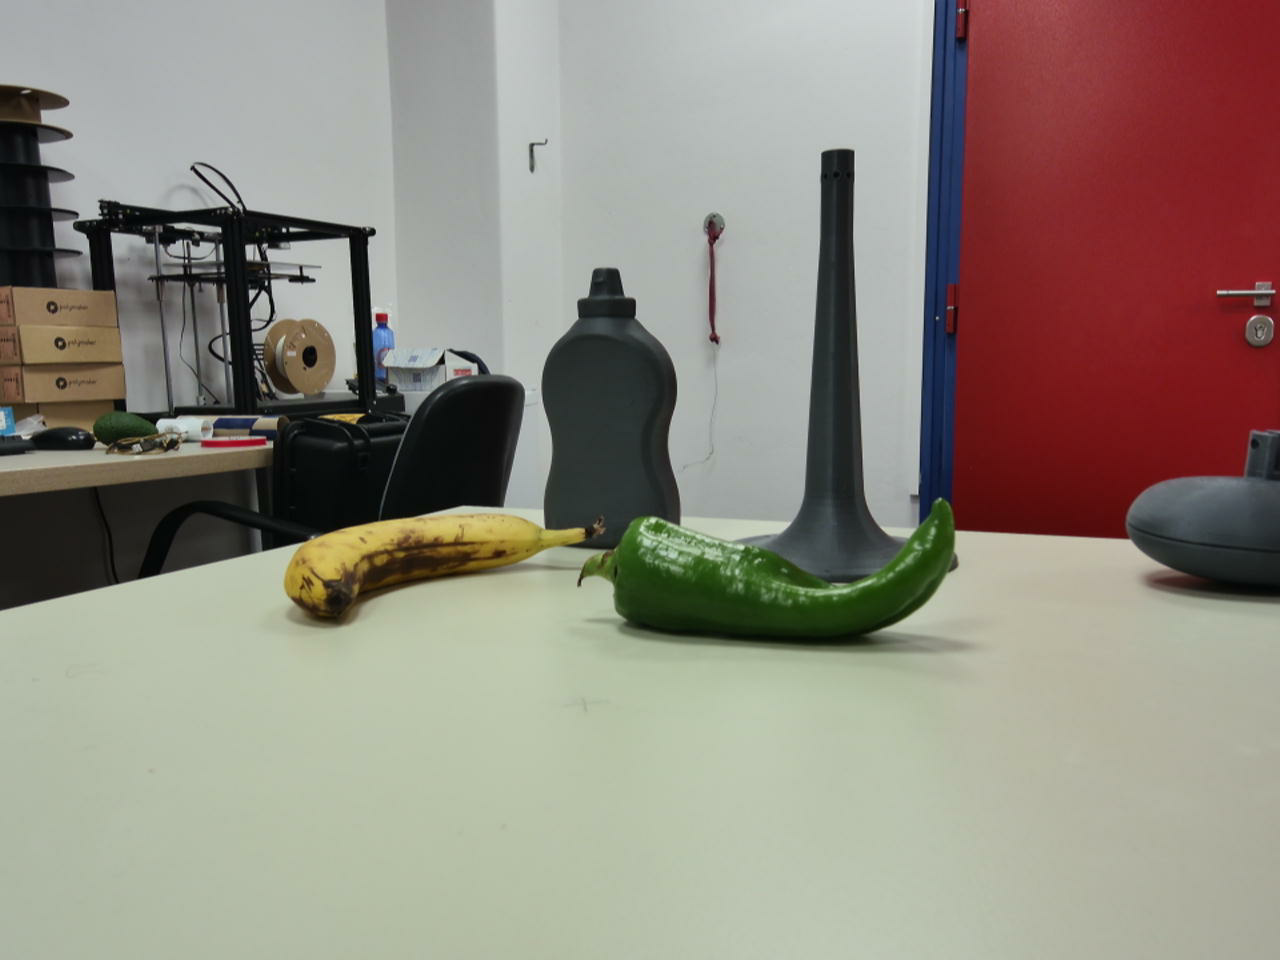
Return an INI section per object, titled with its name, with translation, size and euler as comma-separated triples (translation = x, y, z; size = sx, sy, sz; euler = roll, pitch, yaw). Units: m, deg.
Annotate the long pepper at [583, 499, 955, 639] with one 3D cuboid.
[long pepper]
translation = 0.053, 0.039, 0.462
size = 0.175, 0.065, 0.058
euler = 2, 4, 23
